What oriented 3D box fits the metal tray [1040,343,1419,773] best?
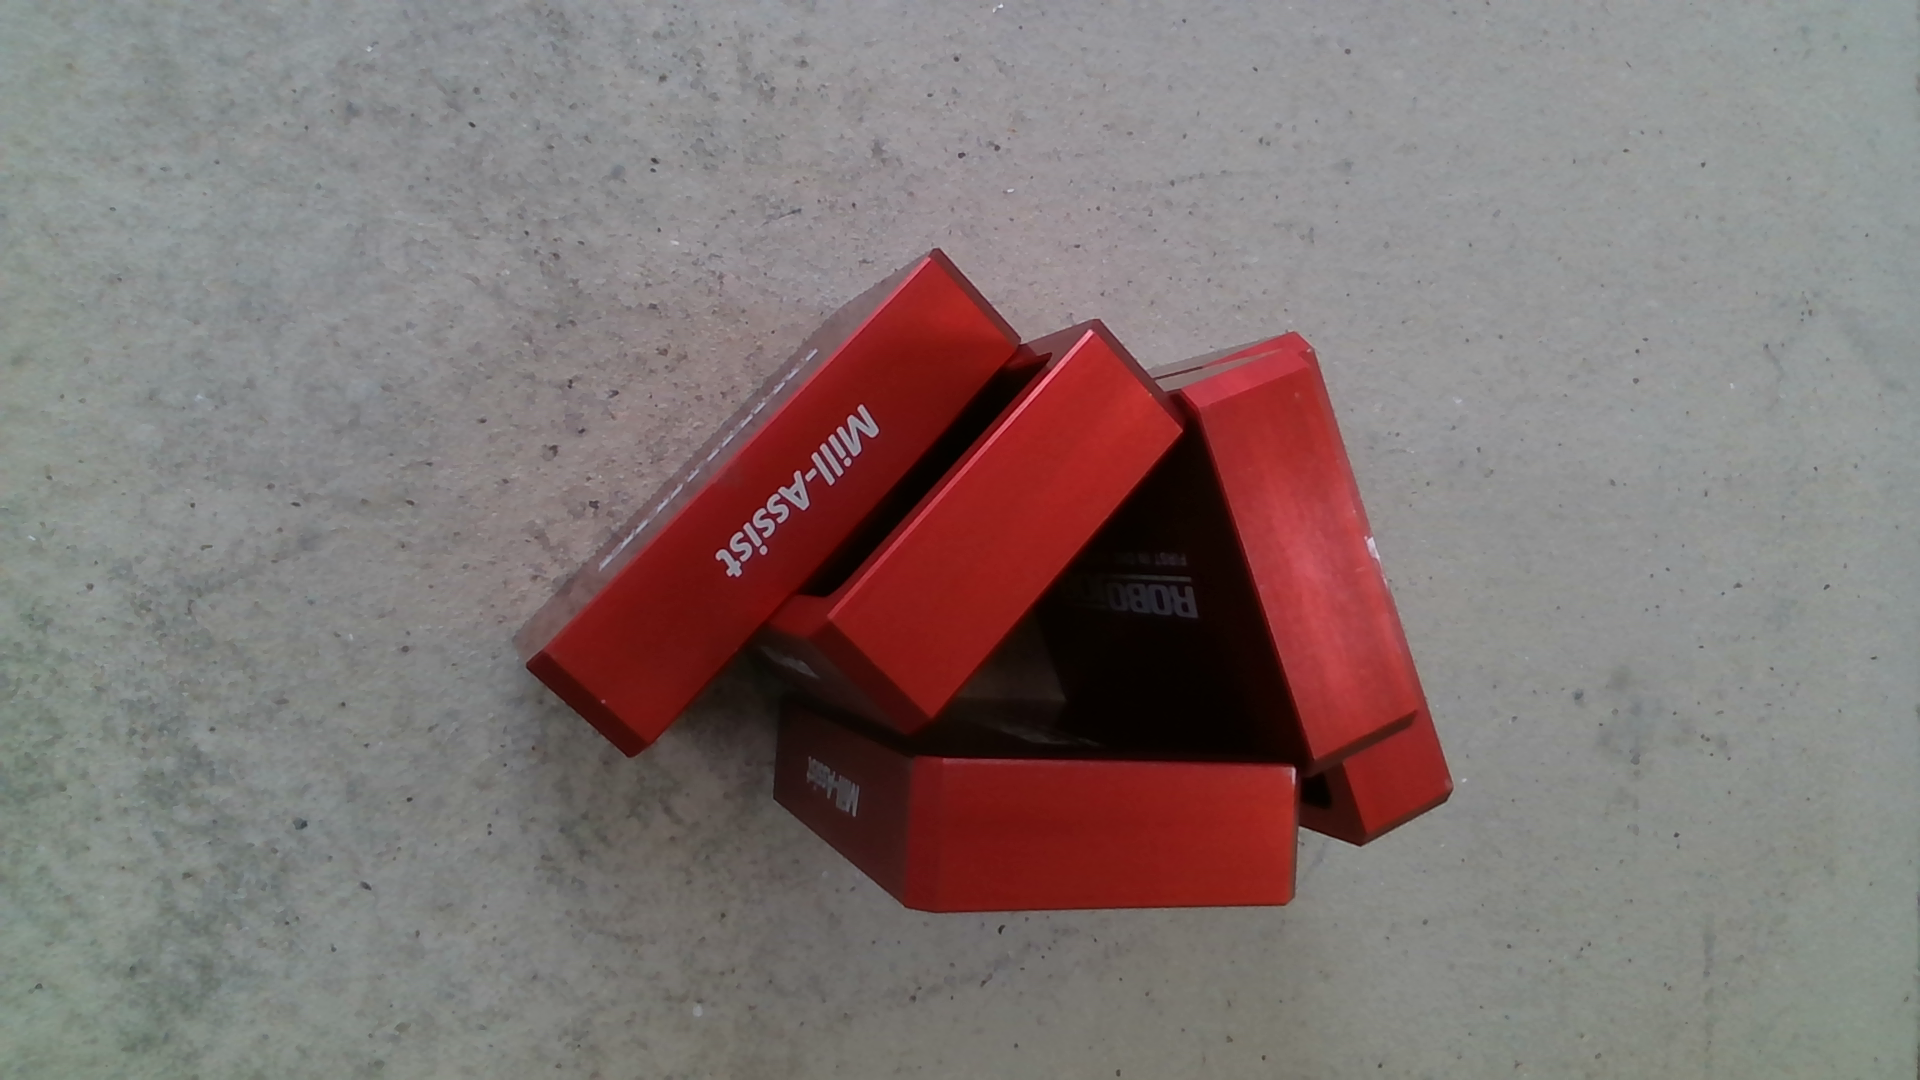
[{"bbox_3d":[0.054,0.004,0.357,0.030,0.130,0.090,-22,97,-19],"label":"metal tray"}]

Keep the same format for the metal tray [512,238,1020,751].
[{"bbox_3d":[-0.051,-0.012,0.340,0.030,0.090,0.130,45,76,-14],"label":"metal tray"}]

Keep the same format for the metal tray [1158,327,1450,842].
[{"bbox_3d":[0.080,0.012,0.388,0.030,0.090,0.130,-21,98,-19],"label":"metal tray"}]

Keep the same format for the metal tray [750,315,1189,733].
[{"bbox_3d":[-0.011,-0.004,0.334,0.030,0.130,0.090,45,76,-15],"label":"metal tray"}]

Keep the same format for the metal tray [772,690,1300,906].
[{"bbox_3d":[0.011,0.060,0.342,0.090,0.130,0.030,5,88,-20],"label":"metal tray"}]
